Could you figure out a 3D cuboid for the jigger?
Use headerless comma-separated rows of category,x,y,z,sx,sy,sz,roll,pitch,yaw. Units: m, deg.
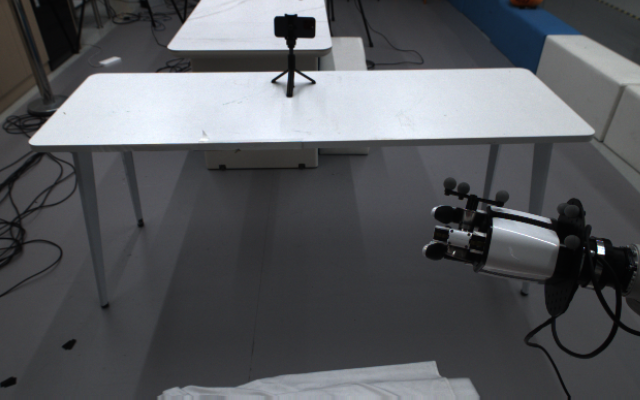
jigger,0.204,0.047,0.676,0.043,0.071,0.043,14,1,0
